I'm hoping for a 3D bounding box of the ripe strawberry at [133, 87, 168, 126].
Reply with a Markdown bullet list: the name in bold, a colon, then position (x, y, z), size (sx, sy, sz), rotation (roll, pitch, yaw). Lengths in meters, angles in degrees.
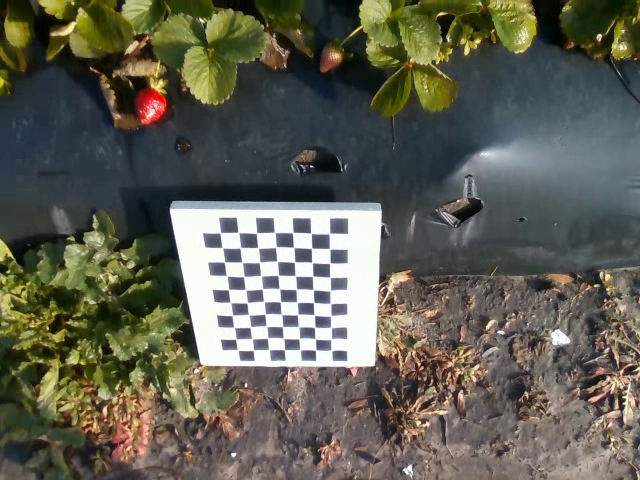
- **ripe strawberry**: position (-0.187, -0.137, 0.693), size (0.046, 0.054, 0.037), rotation (17, -14, -10)
